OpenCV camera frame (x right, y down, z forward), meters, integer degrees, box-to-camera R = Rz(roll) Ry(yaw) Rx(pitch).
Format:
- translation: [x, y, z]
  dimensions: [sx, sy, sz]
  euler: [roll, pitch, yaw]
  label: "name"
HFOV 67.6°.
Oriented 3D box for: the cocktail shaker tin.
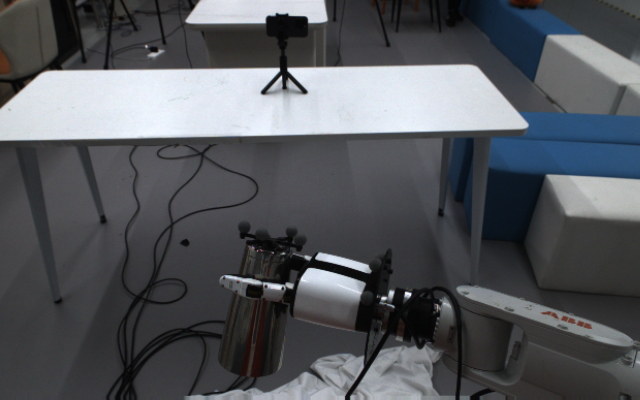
- translation: [-0.082, 0.144, 0.680]
  dimensions: [0.093, 0.170, 0.093]
  euler: [10, 9, -2]
  label: "cocktail shaker tin"
